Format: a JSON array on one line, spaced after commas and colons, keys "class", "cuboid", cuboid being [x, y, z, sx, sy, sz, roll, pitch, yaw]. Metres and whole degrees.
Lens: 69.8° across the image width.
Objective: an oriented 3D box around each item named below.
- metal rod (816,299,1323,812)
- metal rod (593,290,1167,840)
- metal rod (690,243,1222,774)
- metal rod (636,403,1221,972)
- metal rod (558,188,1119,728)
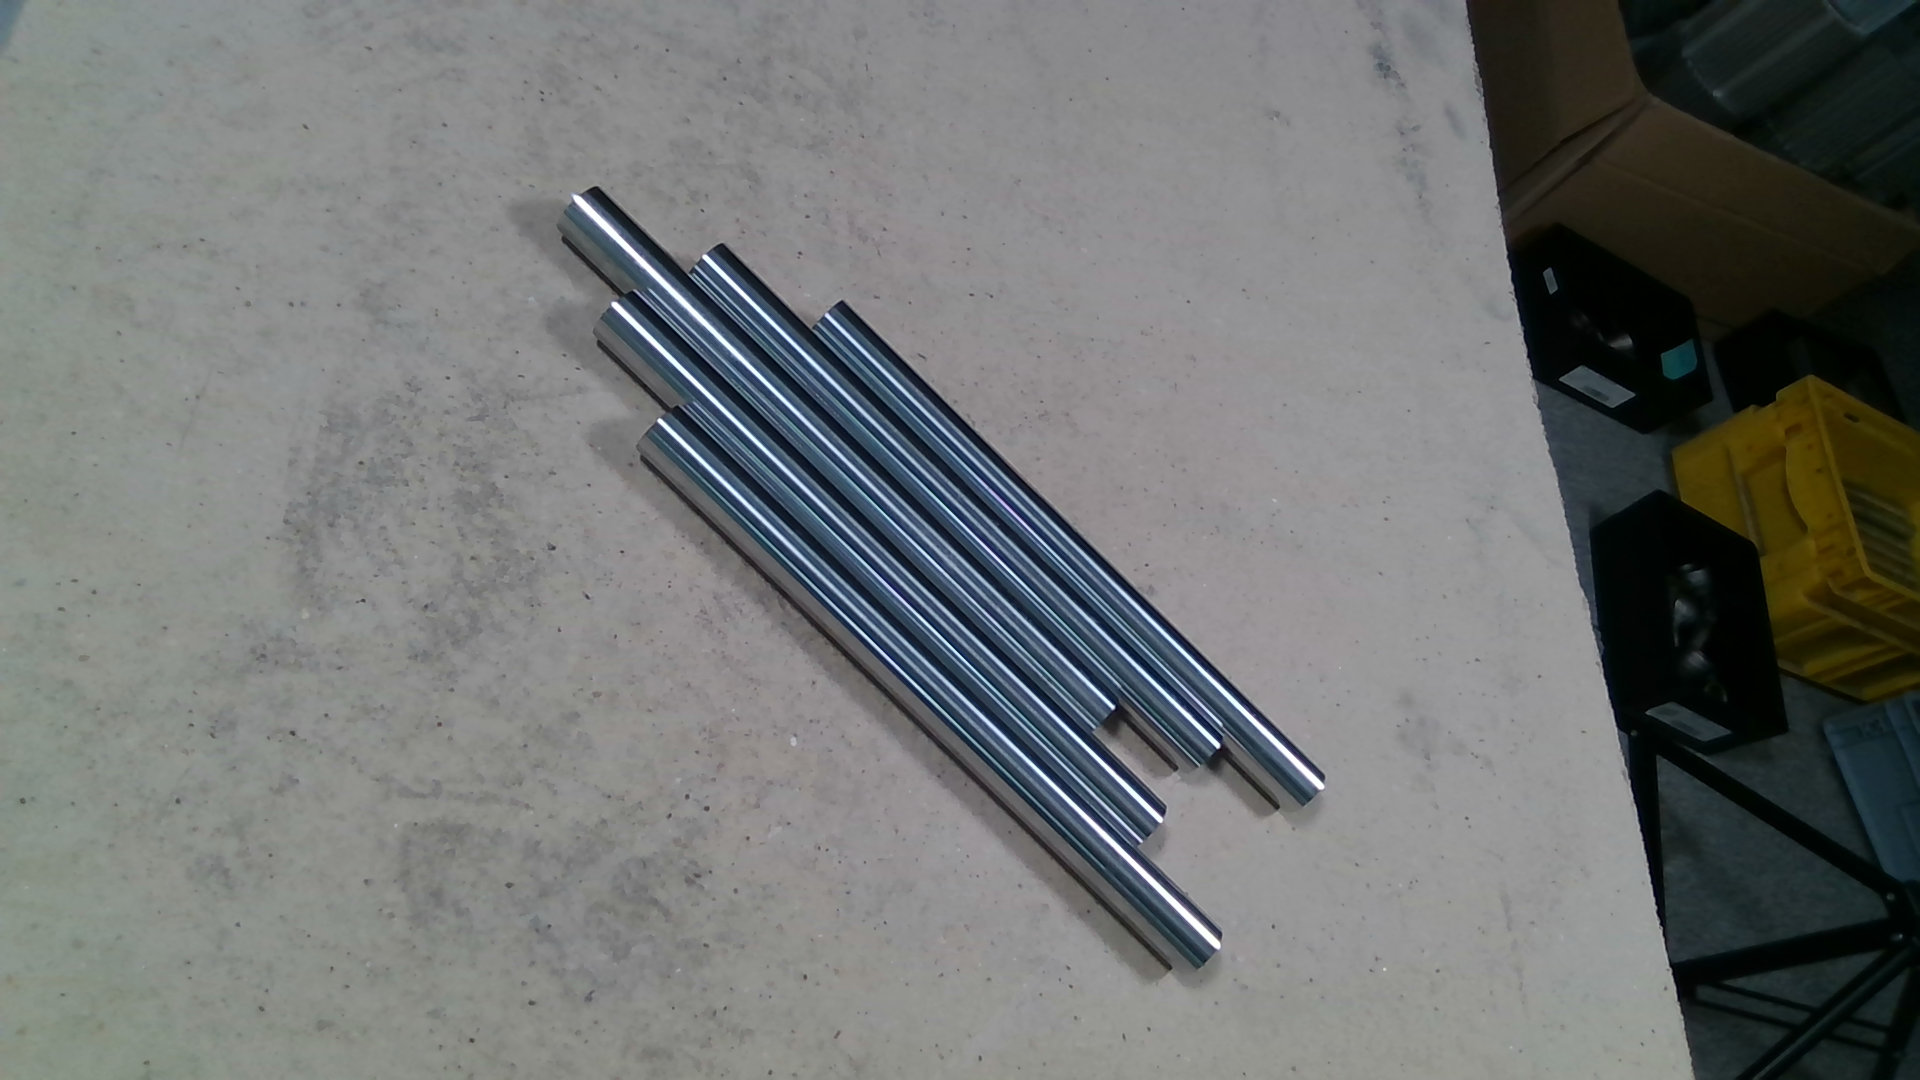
[{"class": "metal rod", "cuboid": [0.047, 0.008, 0.611, 0.300, 0.025, 0.025, 44, 51, -4]}, {"class": "metal rod", "cuboid": [-0.031, 0.014, 0.560, 0.300, 0.025, 0.025, 44, 51, -4]}, {"class": "metal rod", "cuboid": [-0.001, -0.012, 0.592, 0.300, 0.025, 0.025, 44, 51, -4]}, {"class": "metal rod", "cuboid": [-0.011, 0.060, 0.547, 0.300, 0.025, 0.025, 44, 51, -4]}, {"class": "metal rod", "cuboid": [-0.048, -0.030, 0.573, 0.300, 0.025, 0.025, 44, 51, -4]}]
